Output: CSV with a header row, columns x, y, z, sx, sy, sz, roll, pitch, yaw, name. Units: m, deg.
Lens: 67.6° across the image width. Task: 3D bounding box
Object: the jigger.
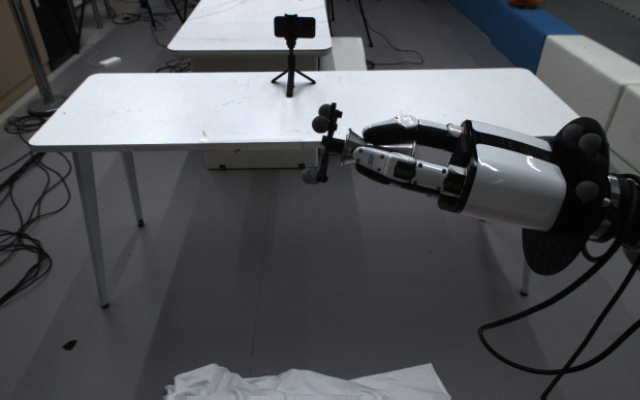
x,y,z,sx,sy,sz,roll,pitch,yaw,name
0.065,-0.048,0.489,0.071,0.043,0.043,12,36,5,jigger
